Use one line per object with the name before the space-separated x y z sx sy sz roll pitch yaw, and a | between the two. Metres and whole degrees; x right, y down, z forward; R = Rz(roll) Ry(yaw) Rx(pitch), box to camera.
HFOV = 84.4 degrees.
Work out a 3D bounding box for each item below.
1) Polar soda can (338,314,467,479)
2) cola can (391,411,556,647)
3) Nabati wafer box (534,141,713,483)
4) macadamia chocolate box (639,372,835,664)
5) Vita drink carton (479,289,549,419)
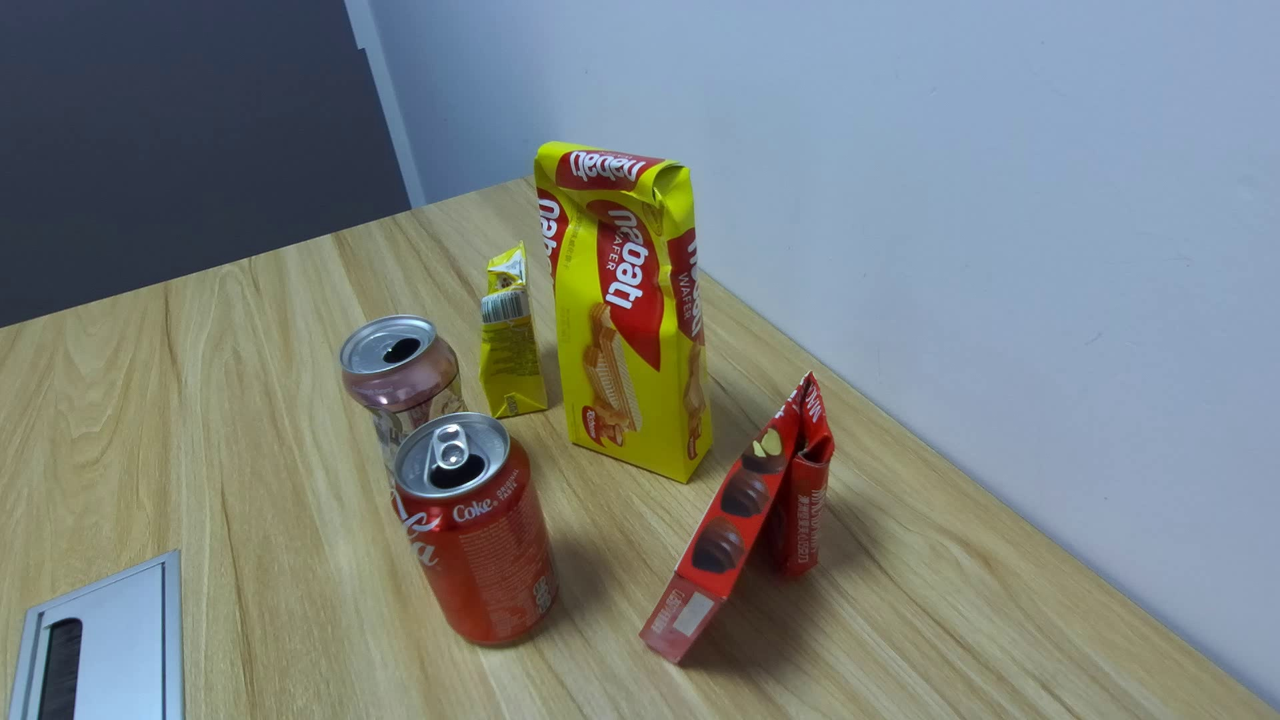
Polar soda can | -0.135 0.038 0.432 0.067 0.122 0.074 -8 38 -2
cola can | -0.083 0.087 0.362 0.068 0.120 0.067 -5 38 4
Nabati wafer box | -0.010 -0.021 0.418 0.113 0.205 0.043 15 42 28
macadamia chocolate box | 0.052 0.083 0.350 0.056 0.112 0.127 25 47 32
Vita drink carton | -0.096 -0.021 0.509 0.046 0.110 0.071 -9 37 -5
